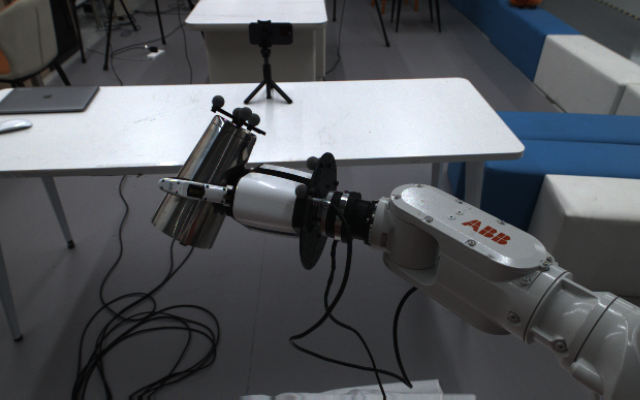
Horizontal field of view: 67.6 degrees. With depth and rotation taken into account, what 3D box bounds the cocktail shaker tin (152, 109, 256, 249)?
[{"bbox_3d":[-0.156,-0.031,0.677,0.093,0.170,0.093,27,2,-1],"label":"cocktail shaker tin"}]
